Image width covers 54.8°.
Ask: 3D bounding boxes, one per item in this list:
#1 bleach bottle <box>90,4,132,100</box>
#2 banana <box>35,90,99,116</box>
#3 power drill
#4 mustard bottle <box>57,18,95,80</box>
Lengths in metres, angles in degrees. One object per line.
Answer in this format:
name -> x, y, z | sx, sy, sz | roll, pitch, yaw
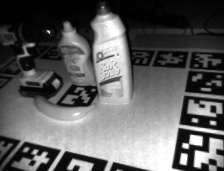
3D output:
bleach bottle -> -0.009, -0.073, 0.541 | 0.102, 0.253, 0.068 | -2, 42, 12
banana -> -0.137, 0.044, 0.581 | 0.195, 0.039, 0.074 | 6, 46, 22
power drill -> -0.227, -0.088, 0.611 | 0.183, 0.188, 0.057 | 4, 35, 14
mustard bottle -> -0.109, -0.105, 0.635 | 0.095, 0.193, 0.058 | 5, 42, 18
